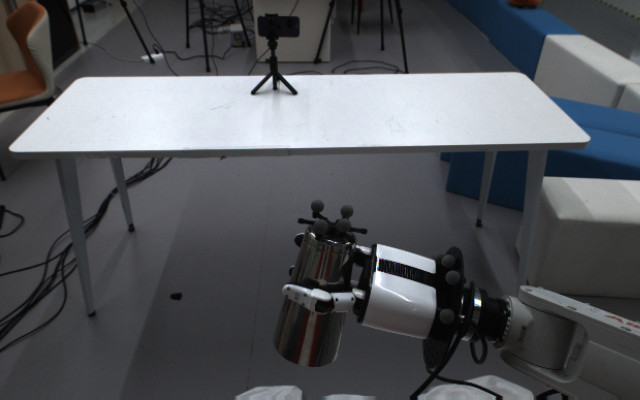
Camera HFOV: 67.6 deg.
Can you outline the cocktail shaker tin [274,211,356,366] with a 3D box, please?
[{"bbox_3d":[-0.001,0.118,0.635,0.093,0.170,0.093,11,19,-4],"label":"cocktail shaker tin"}]
